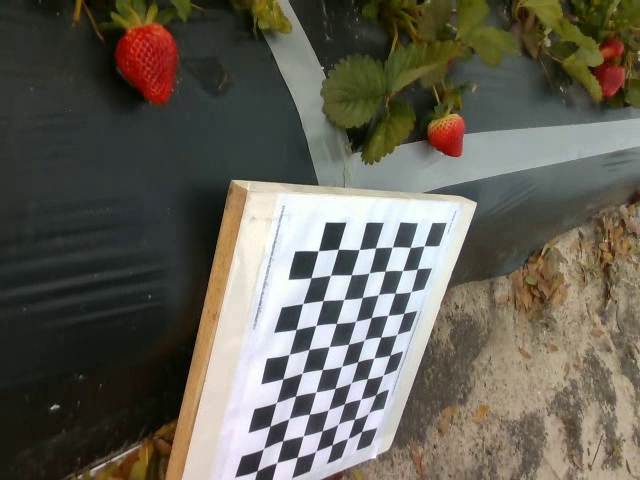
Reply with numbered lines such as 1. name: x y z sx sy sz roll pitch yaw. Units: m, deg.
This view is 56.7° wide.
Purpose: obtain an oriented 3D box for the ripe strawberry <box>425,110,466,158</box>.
1. ripe strawberry: 0.112 -0.097 0.545 0.039 0.047 0.041 -30 34 -16

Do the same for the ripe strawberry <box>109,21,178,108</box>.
1. ripe strawberry: -0.088 -0.094 0.311 0.036 0.046 0.040 -12 -15 -27
